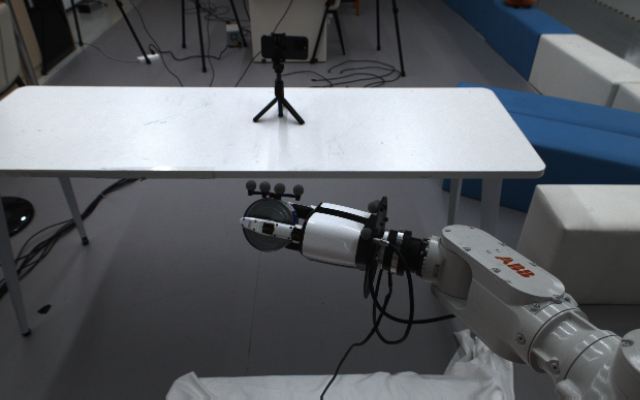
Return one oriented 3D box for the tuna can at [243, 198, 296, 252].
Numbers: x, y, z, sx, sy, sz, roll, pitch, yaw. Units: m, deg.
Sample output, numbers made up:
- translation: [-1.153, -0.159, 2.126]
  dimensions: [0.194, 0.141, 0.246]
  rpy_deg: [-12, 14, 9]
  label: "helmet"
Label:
- translation: [-0.078, 0.038, 0.771]
  dimensions: [0.085, 0.085, 0.034]
  rpy_deg: [11, 3, 13]
  label: "tuna can"
